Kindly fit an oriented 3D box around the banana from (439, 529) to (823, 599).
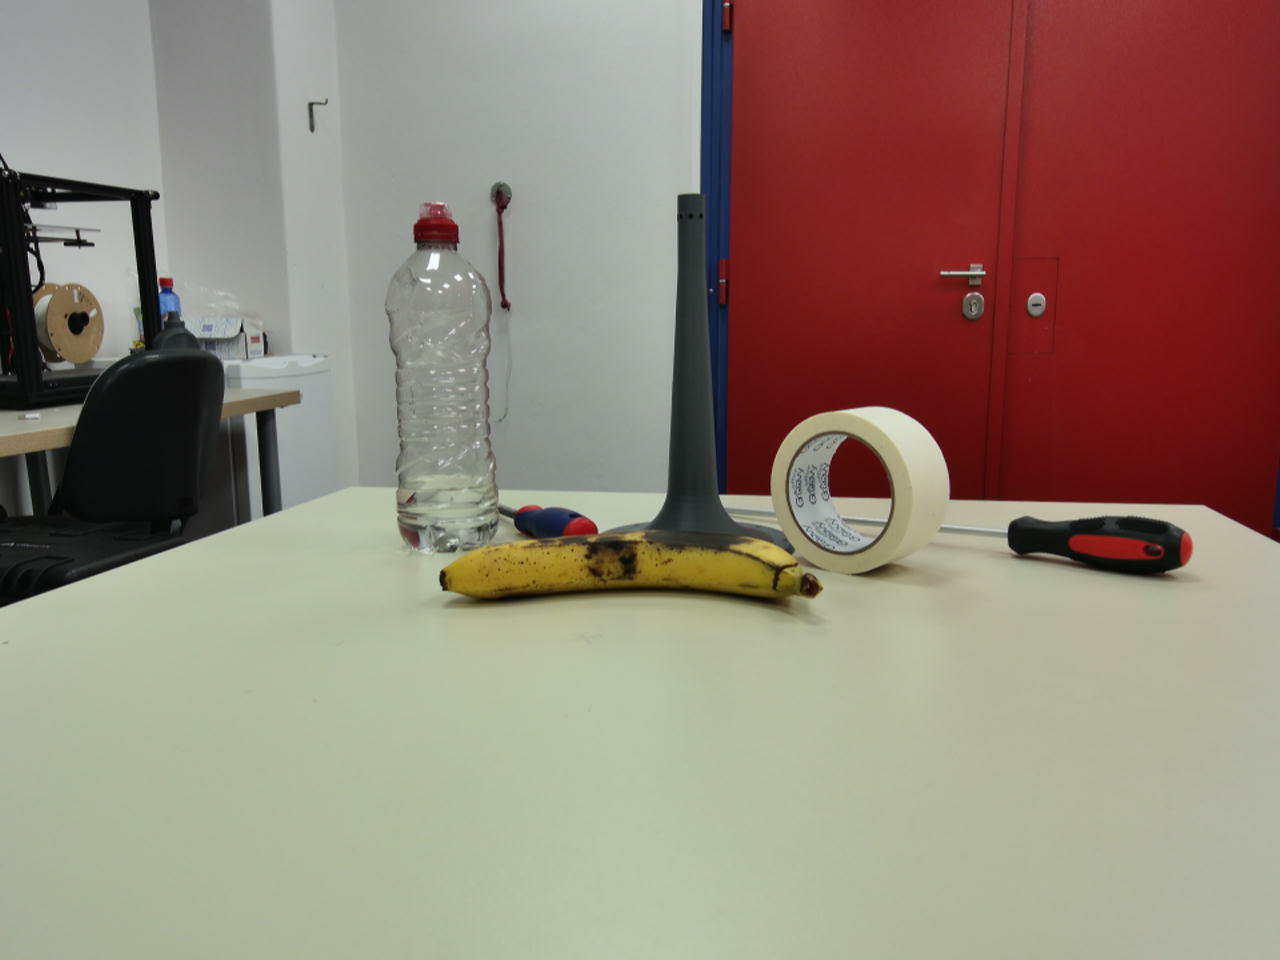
[{"bbox_3d":[-0.003,0.052,0.599,0.222,0.037,0.084,1,7,12],"label":"banana"}]
